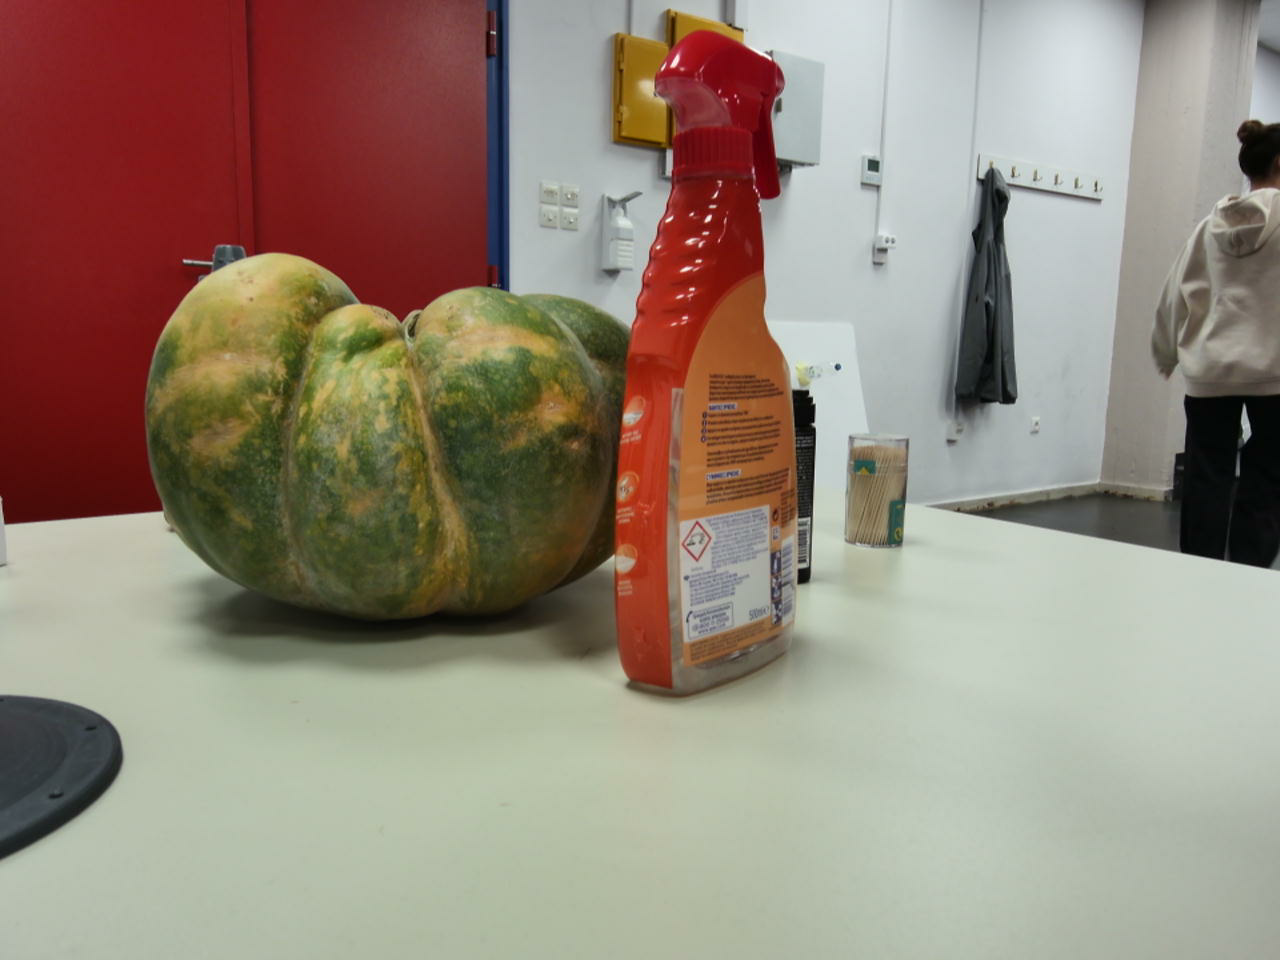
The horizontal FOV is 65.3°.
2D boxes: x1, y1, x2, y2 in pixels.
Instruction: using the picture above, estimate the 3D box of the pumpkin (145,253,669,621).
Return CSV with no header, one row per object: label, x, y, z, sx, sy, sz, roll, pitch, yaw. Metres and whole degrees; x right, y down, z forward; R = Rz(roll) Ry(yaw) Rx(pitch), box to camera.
pumpkin,-0.122,-0.022,0.516,0.270,0.173,0.237,0,7,0
